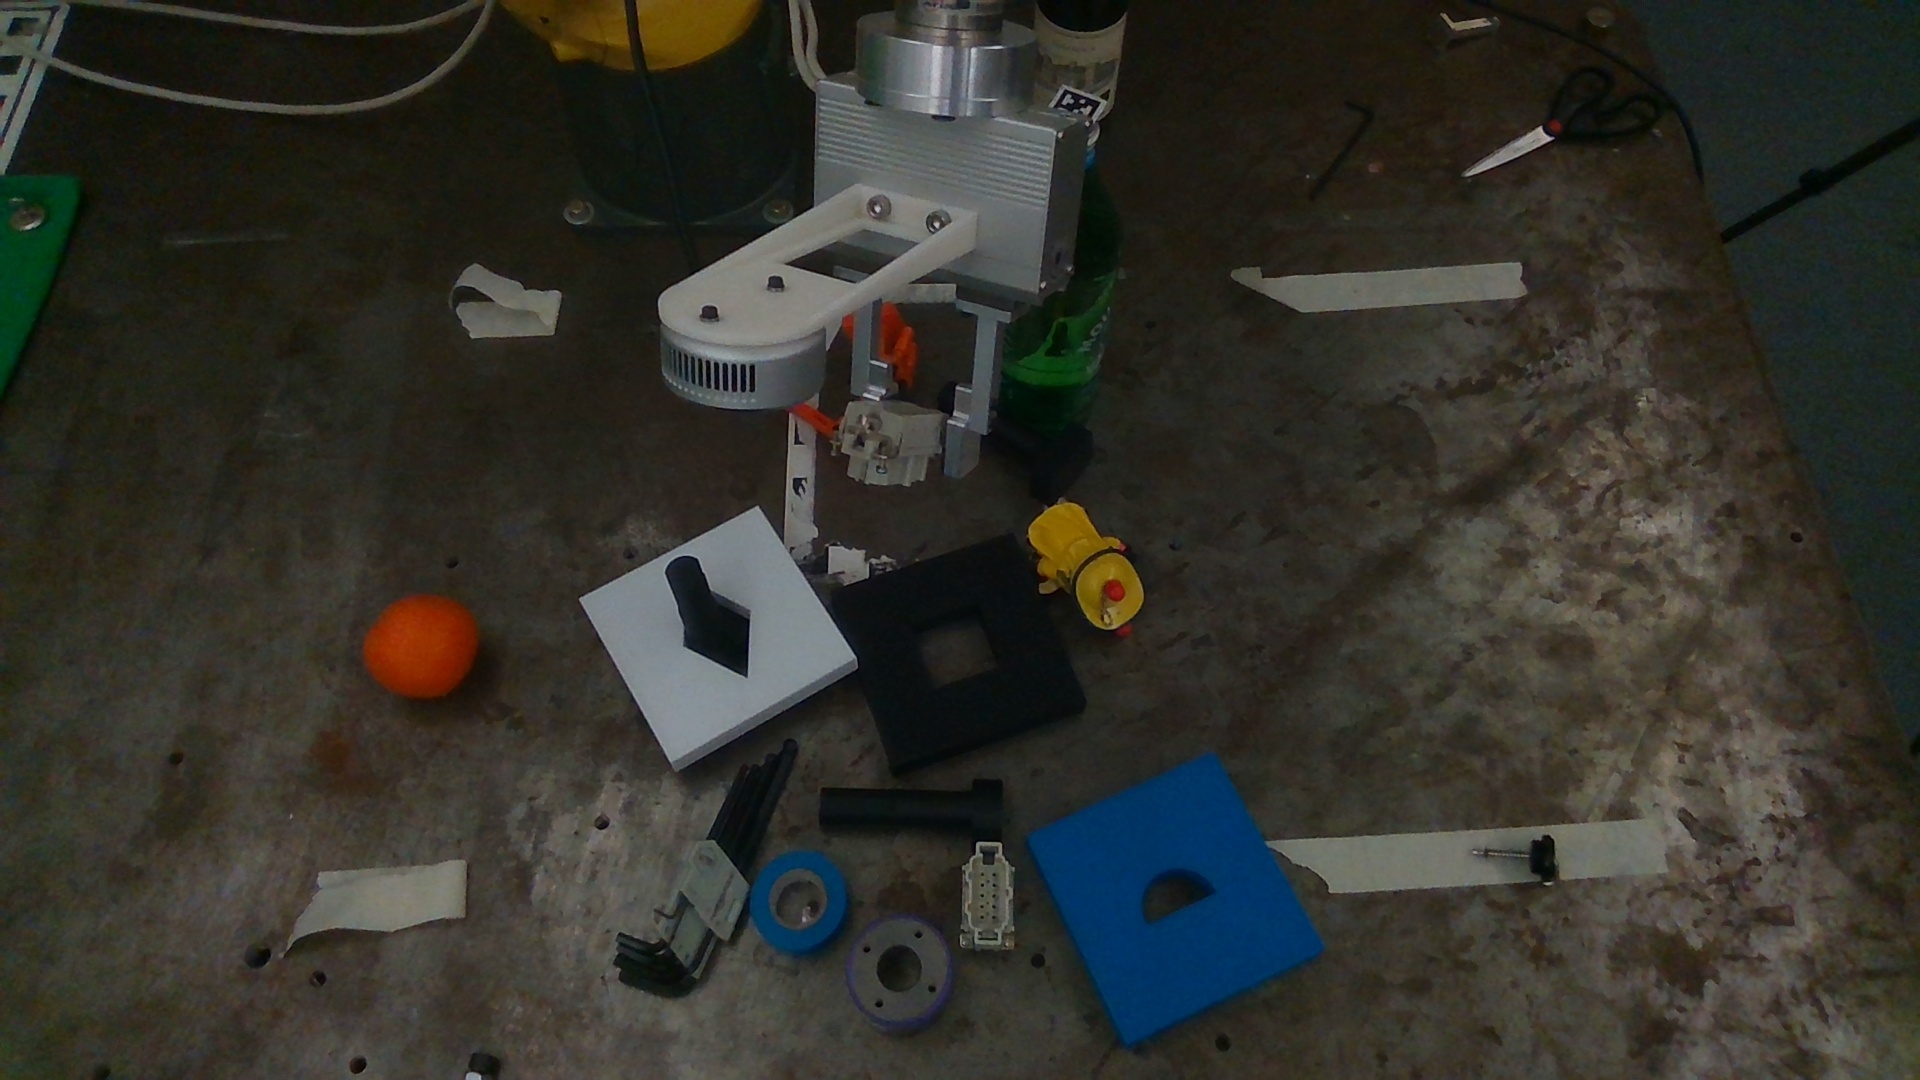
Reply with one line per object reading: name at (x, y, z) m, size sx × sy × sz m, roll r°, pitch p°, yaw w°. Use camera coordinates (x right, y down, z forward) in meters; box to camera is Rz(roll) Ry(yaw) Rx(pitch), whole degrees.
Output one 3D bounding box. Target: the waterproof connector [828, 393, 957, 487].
waterproof connector at (-0.031, -0.047, 0.658) m, size 0.037 × 0.069 × 0.038 m, roll 17°, pitch 105°, yaw 24°
